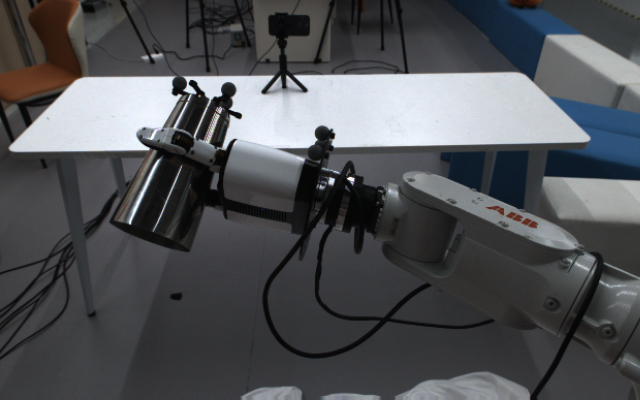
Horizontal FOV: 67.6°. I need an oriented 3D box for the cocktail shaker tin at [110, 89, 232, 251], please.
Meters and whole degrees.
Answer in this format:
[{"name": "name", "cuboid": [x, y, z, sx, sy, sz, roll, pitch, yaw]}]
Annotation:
[{"name": "cocktail shaker tin", "cuboid": [-0.165, -0.034, 0.566, 0.093, 0.093, 0.170, 12, 71, 14]}]
